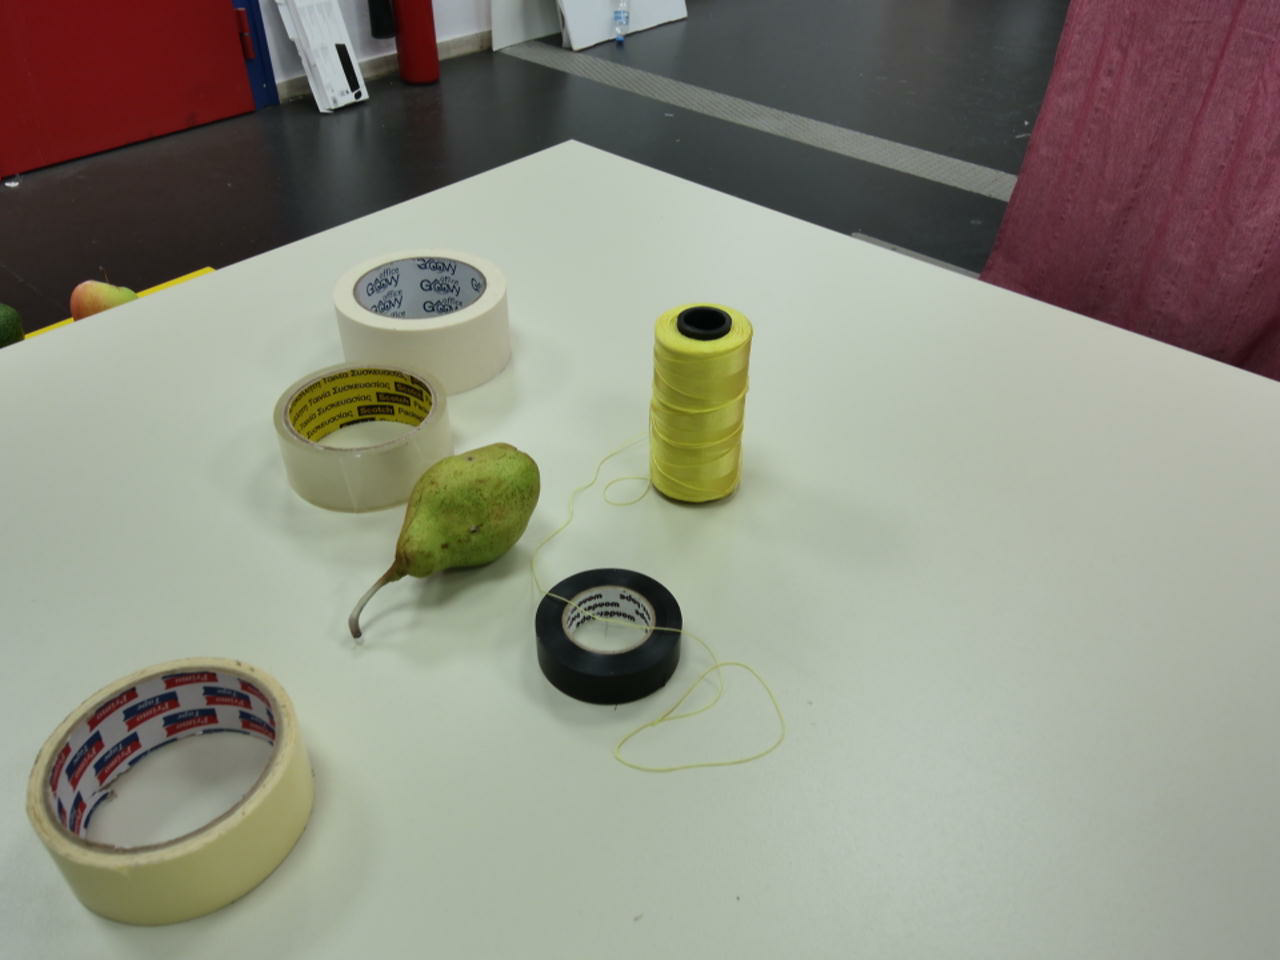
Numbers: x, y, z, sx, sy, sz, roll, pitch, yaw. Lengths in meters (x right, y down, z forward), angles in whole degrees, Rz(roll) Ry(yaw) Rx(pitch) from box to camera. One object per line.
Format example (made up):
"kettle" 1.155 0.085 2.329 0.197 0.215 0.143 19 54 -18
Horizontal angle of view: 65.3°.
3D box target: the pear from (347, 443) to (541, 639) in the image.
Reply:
"pear" -0.099 0.020 0.477 0.111 0.056 0.056 -22 43 -28
